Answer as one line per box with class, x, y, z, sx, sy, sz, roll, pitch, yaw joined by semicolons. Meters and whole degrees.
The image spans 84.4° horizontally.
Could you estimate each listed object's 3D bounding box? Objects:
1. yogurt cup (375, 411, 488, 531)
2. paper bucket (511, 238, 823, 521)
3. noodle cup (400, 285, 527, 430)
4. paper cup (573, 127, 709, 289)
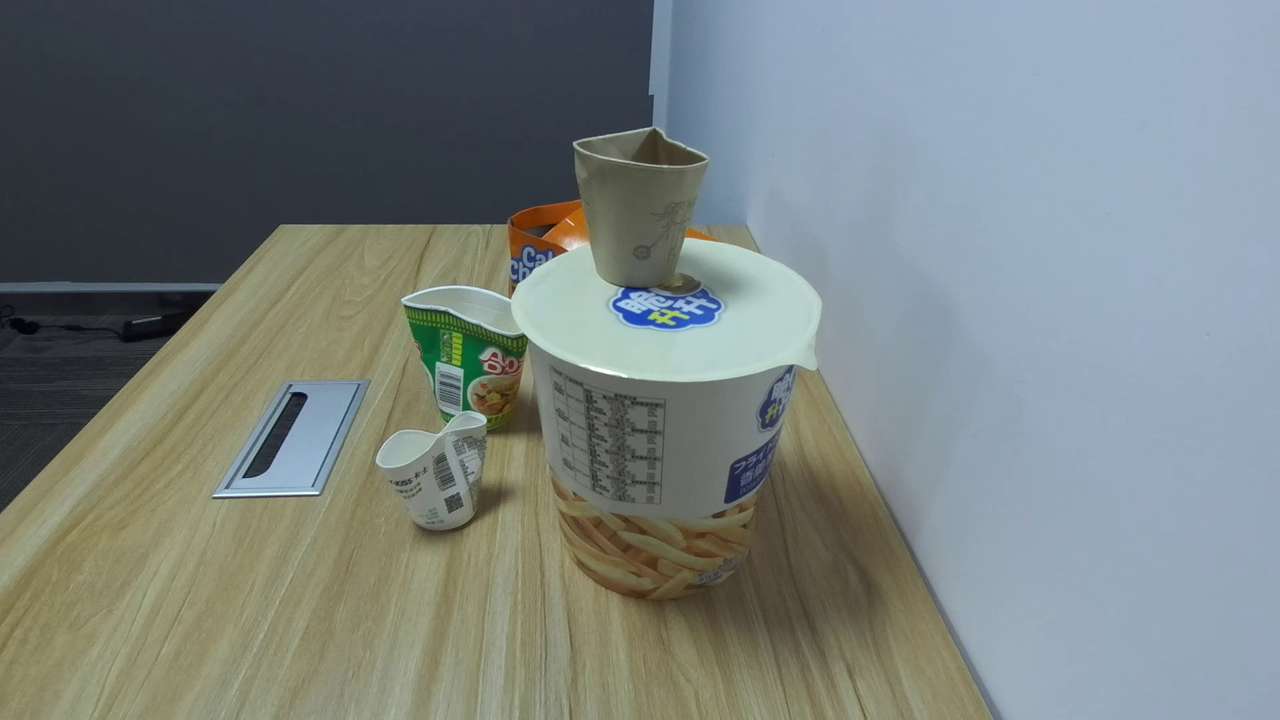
yogurt cup;-0.150;0.084;0.527;0.053;0.071;0.075;13;34;16
paper bucket;0.015;0.041;0.486;0.198;0.195;0.198;1;33;0
noodle cup;-0.146;0.002;0.618;0.114;0.111;0.070;29;41;36
paper cup;-0.002;-0.092;0.439;0.066;0.084;0.071;-18;41;-28
